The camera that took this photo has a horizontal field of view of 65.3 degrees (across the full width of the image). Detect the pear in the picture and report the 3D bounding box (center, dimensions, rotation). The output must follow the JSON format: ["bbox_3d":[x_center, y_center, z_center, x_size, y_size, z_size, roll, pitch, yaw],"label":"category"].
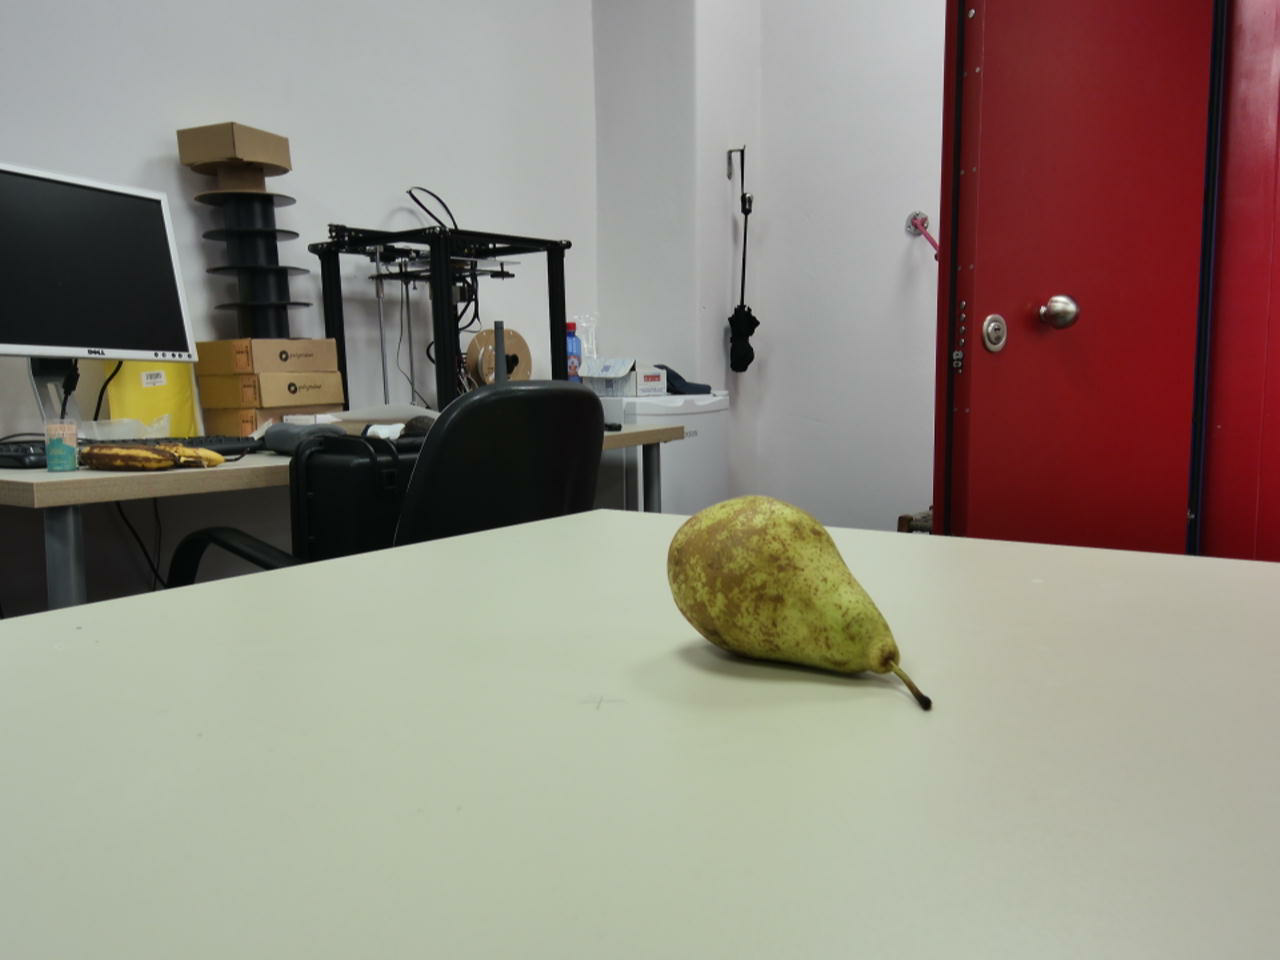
[{"bbox_3d":[0.072,0.046,0.440,0.128,0.075,0.071,2,4,29],"label":"pear"}]
